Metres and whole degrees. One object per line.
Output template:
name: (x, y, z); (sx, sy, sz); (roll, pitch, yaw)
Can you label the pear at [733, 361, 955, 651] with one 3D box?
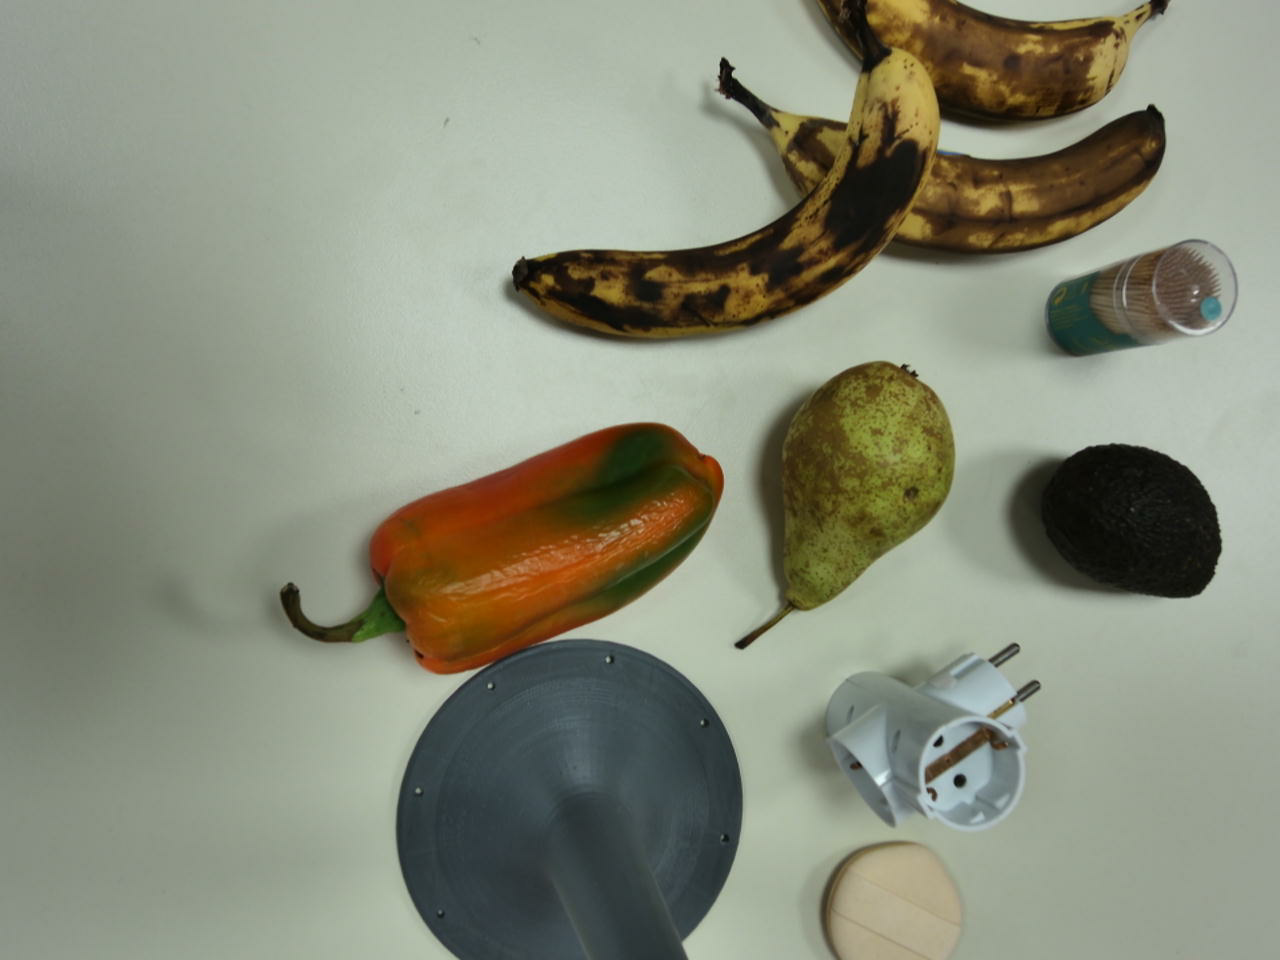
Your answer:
pear: (0.094, 0.014, 0.426); (0.071, 0.075, 0.128); (4, 90, -12)
